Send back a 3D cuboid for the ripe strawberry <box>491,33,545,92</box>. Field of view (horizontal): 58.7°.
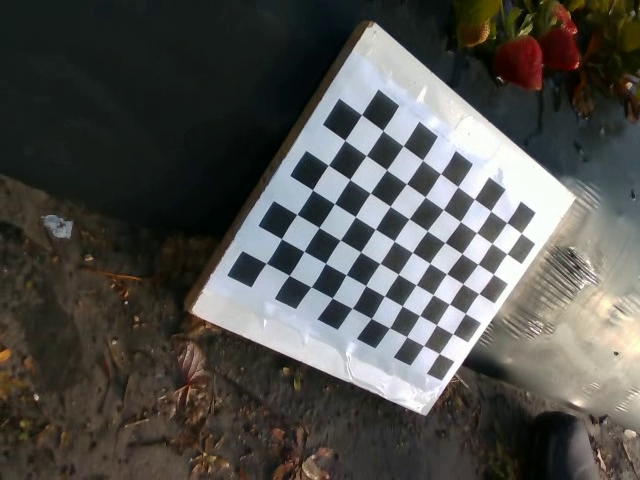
[{"bbox_3d":[0.192,-0.165,0.532,0.050,0.065,0.050,-11,-33,-16],"label":"ripe strawberry"}]

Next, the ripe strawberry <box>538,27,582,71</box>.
[{"bbox_3d":[0.249,-0.195,0.589,0.045,0.055,0.042,-33,-24,-7],"label":"ripe strawberry"}]
